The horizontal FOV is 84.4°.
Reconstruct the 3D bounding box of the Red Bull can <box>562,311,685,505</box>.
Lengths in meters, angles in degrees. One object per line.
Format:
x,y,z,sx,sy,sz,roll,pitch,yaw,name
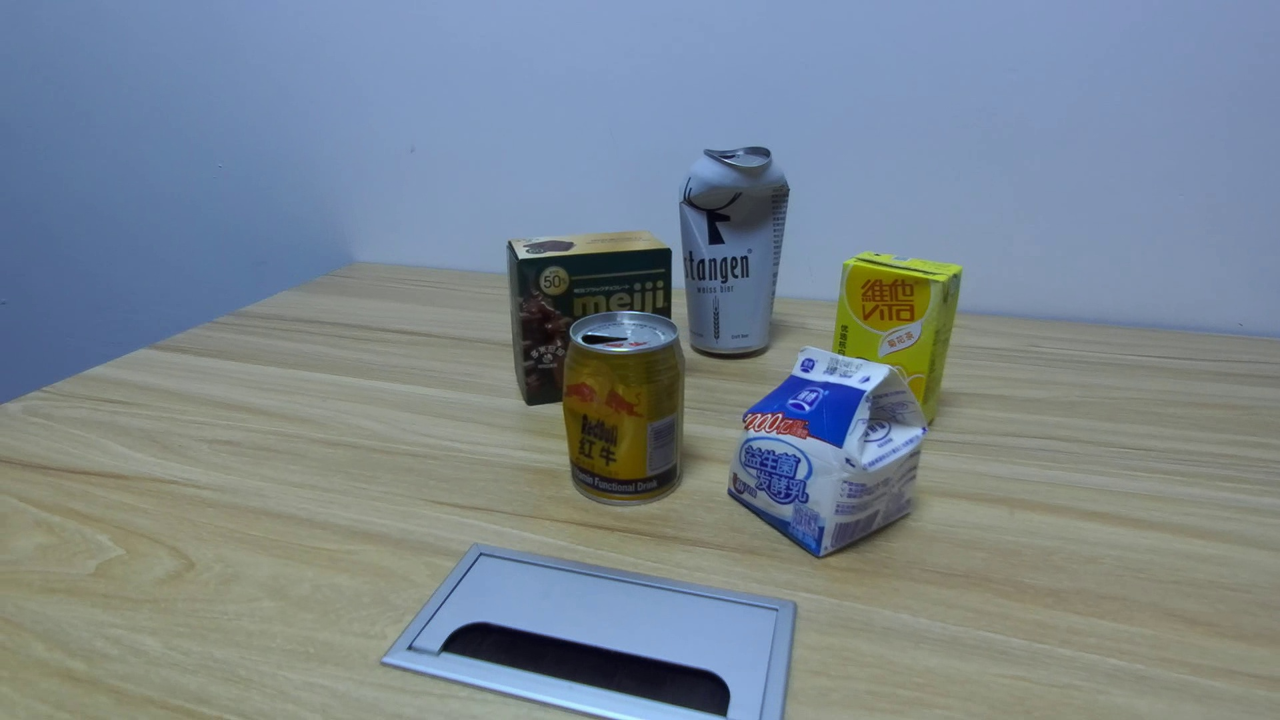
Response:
-0.008,0.026,0.399,0.069,0.092,0.069,0,23,0,Red Bull can

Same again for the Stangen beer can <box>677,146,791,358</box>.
0.074,-0.084,0.566,0.065,0.162,0.077,14,26,32,Stangen beer can

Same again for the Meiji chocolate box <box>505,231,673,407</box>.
-0.036,-0.032,0.515,0.110,0.109,0.056,-7,24,-15,Meiji chocolate box

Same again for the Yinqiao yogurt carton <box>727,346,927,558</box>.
0.100,0.037,0.369,0.077,0.093,0.083,-15,27,-30,Yinqiao yogurt carton

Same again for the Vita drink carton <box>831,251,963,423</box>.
0.165,-0.011,0.464,0.066,0.109,0.044,18,29,35,Vita drink carton
